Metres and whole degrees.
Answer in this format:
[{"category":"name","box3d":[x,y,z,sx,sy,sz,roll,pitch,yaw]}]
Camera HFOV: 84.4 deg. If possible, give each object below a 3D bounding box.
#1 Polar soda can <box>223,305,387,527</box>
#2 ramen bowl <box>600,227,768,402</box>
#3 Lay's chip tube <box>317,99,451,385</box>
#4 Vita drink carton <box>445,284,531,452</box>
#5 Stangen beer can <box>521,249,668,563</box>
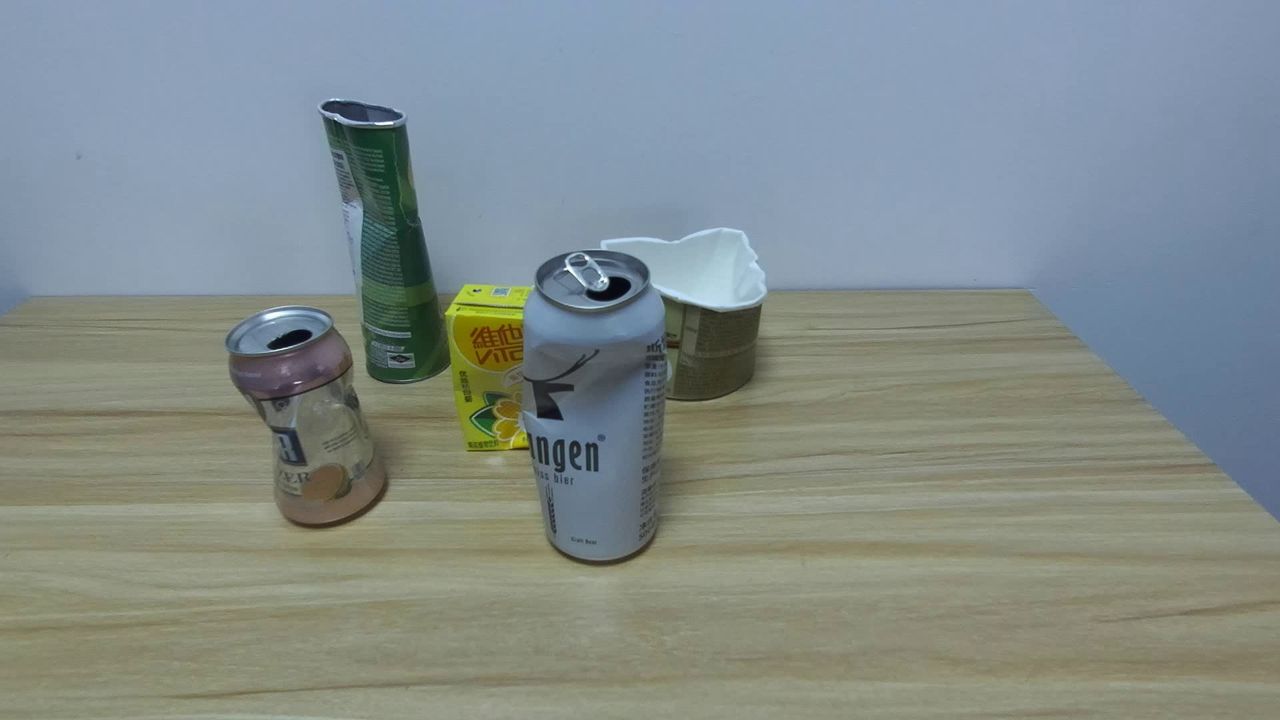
[{"category":"Polar soda can","box3d":[-0.193,0.036,0.413,0.067,0.122,0.074,1,29,7]},{"category":"ramen bowl","box3d":[0.041,-0.033,0.541,0.114,0.097,0.133,-8,32,-13]},{"category":"Lay's chip tube","box3d":[-0.189,-0.083,0.526,0.075,0.200,0.069,2,33,2]},{"category":"Vita drink carton","box3d":[-0.083,0.008,0.472,0.076,0.109,0.043,2,32,2]},{"category":"Stangen beer can","box3d":[-0.022,0.029,0.373,0.070,0.173,0.070,-24,39,-31]}]
